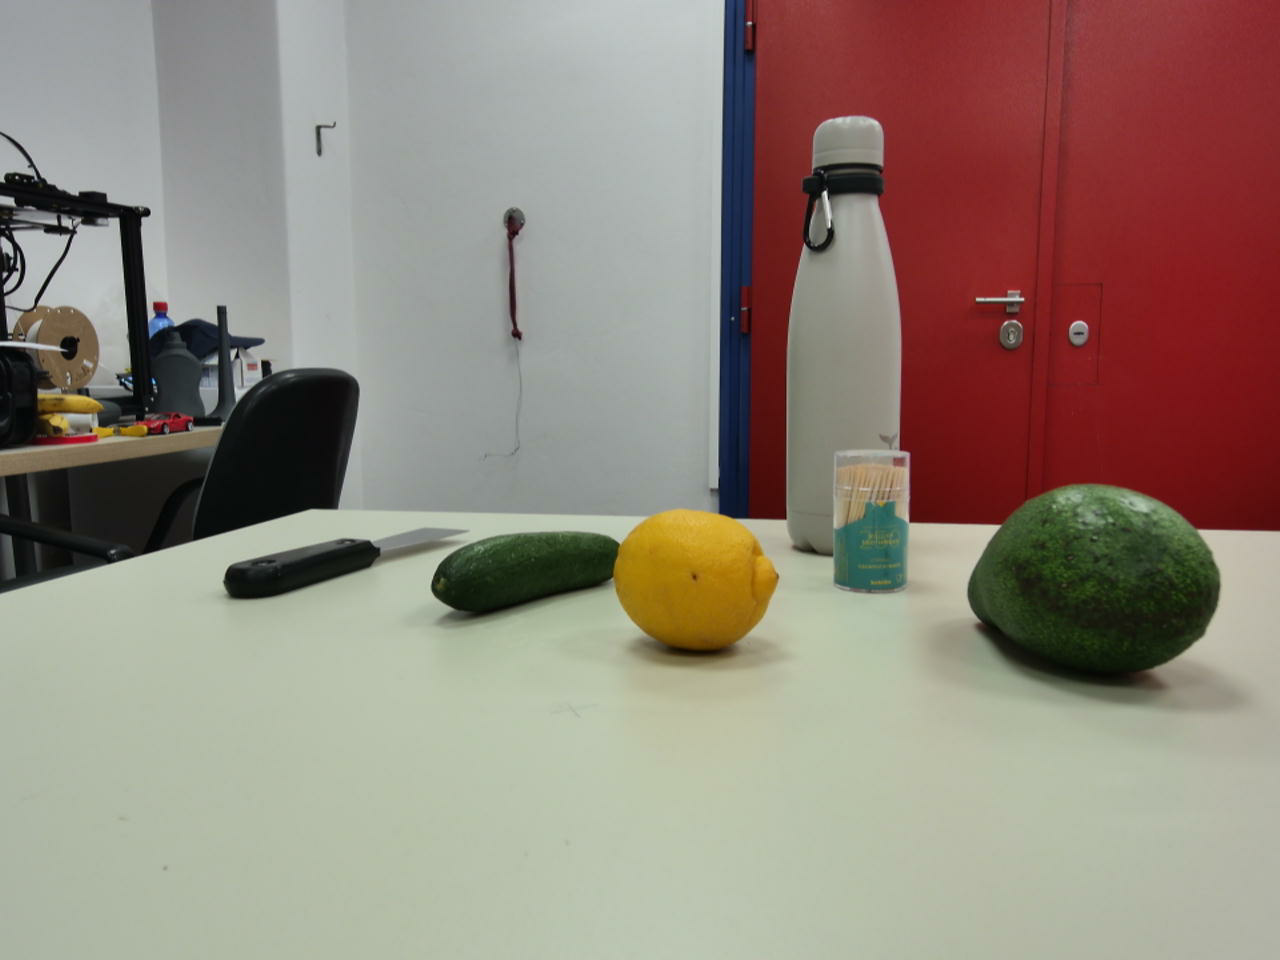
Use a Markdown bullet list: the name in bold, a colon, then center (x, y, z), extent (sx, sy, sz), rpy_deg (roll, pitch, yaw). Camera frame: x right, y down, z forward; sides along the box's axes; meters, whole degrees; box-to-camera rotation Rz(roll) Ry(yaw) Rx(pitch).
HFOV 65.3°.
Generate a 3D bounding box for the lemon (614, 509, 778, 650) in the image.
- **lemon**: center (0.022, 0.043, 0.431), extent (0.060, 0.059, 0.067), rpy_deg (-2, 5, -36)
